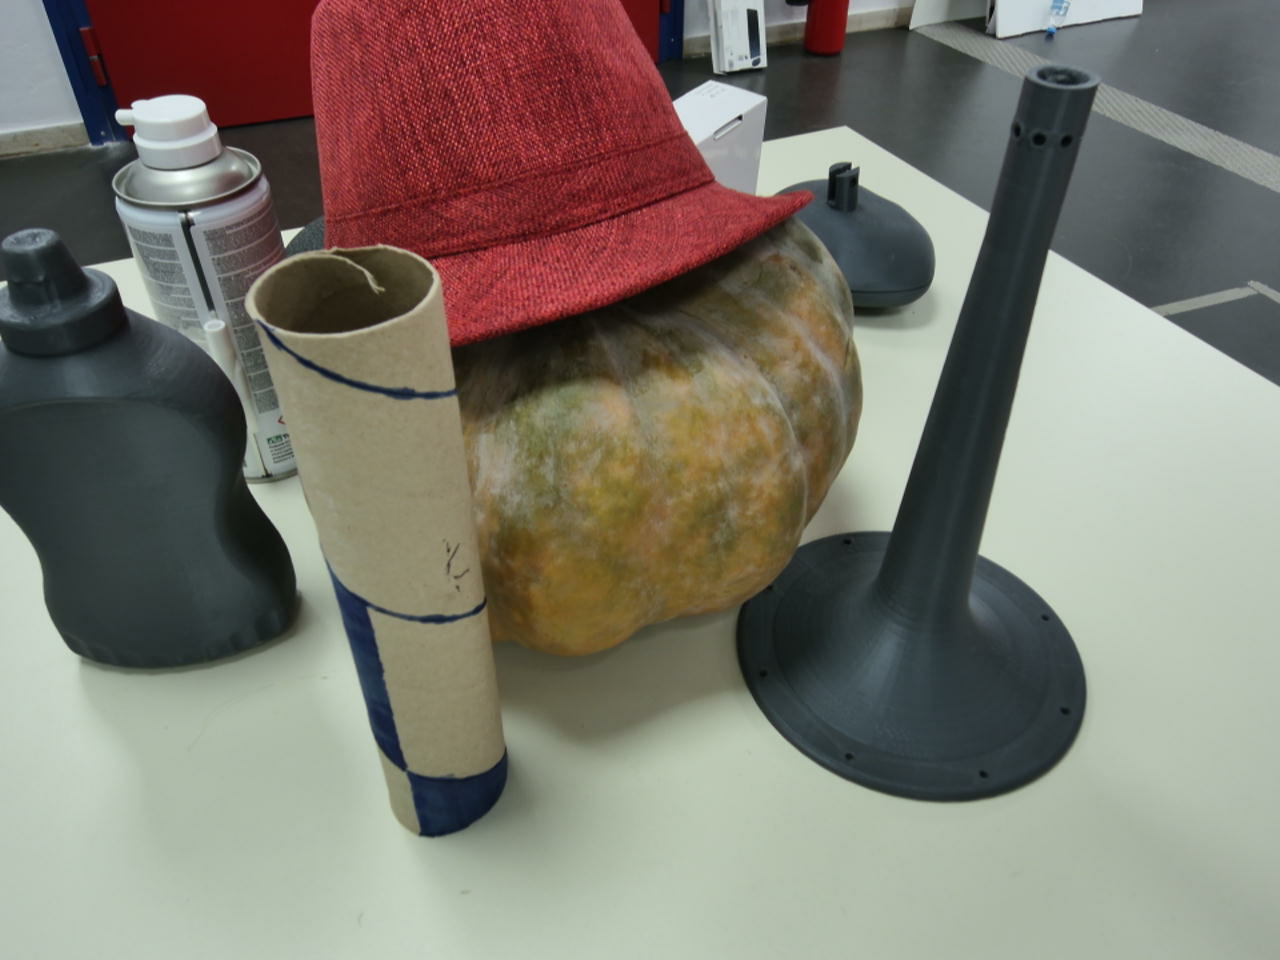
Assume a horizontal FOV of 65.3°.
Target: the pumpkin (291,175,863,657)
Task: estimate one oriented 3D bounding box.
[{"bbox_3d":[-0.030,-0.035,0.449,0.252,0.169,0.251,0,39,0],"label":"pumpkin"}]
